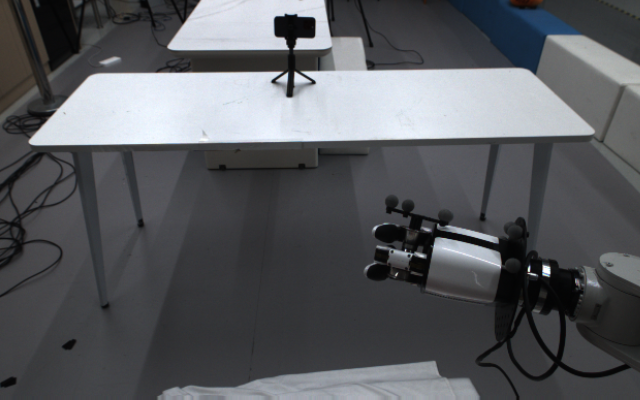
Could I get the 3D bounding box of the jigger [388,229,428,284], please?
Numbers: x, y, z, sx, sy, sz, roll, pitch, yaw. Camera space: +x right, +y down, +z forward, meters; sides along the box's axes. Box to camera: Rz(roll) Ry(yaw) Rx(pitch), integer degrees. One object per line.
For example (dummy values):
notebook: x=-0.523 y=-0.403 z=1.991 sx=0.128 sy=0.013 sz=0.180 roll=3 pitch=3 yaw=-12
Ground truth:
jigger: x=0.120 y=0.071 z=0.644 sx=0.043 sy=0.071 sz=0.043 roll=14 pitch=1 yaw=0
